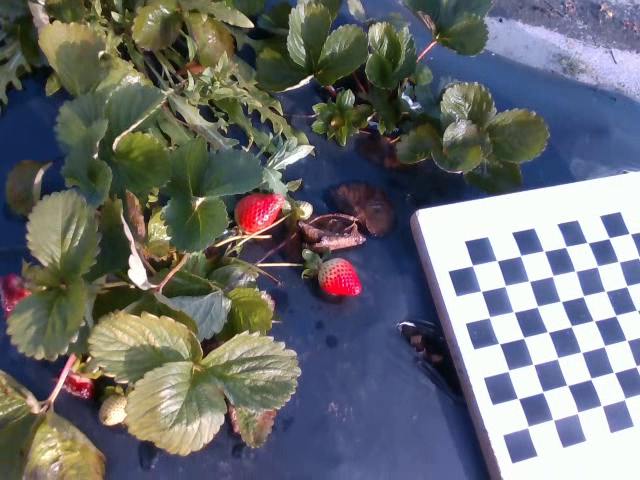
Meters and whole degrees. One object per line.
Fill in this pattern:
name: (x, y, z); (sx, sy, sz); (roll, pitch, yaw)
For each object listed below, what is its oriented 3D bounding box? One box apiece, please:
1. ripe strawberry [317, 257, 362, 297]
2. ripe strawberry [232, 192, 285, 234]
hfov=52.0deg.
ripe strawberry: (0.017, 0.033, 0.538); (0.043, 0.035, 0.030); (38, -25, 7)
ripe strawberry: (-0.051, -0.027, 0.543); (0.048, 0.040, 0.031); (-34, -14, 21)
